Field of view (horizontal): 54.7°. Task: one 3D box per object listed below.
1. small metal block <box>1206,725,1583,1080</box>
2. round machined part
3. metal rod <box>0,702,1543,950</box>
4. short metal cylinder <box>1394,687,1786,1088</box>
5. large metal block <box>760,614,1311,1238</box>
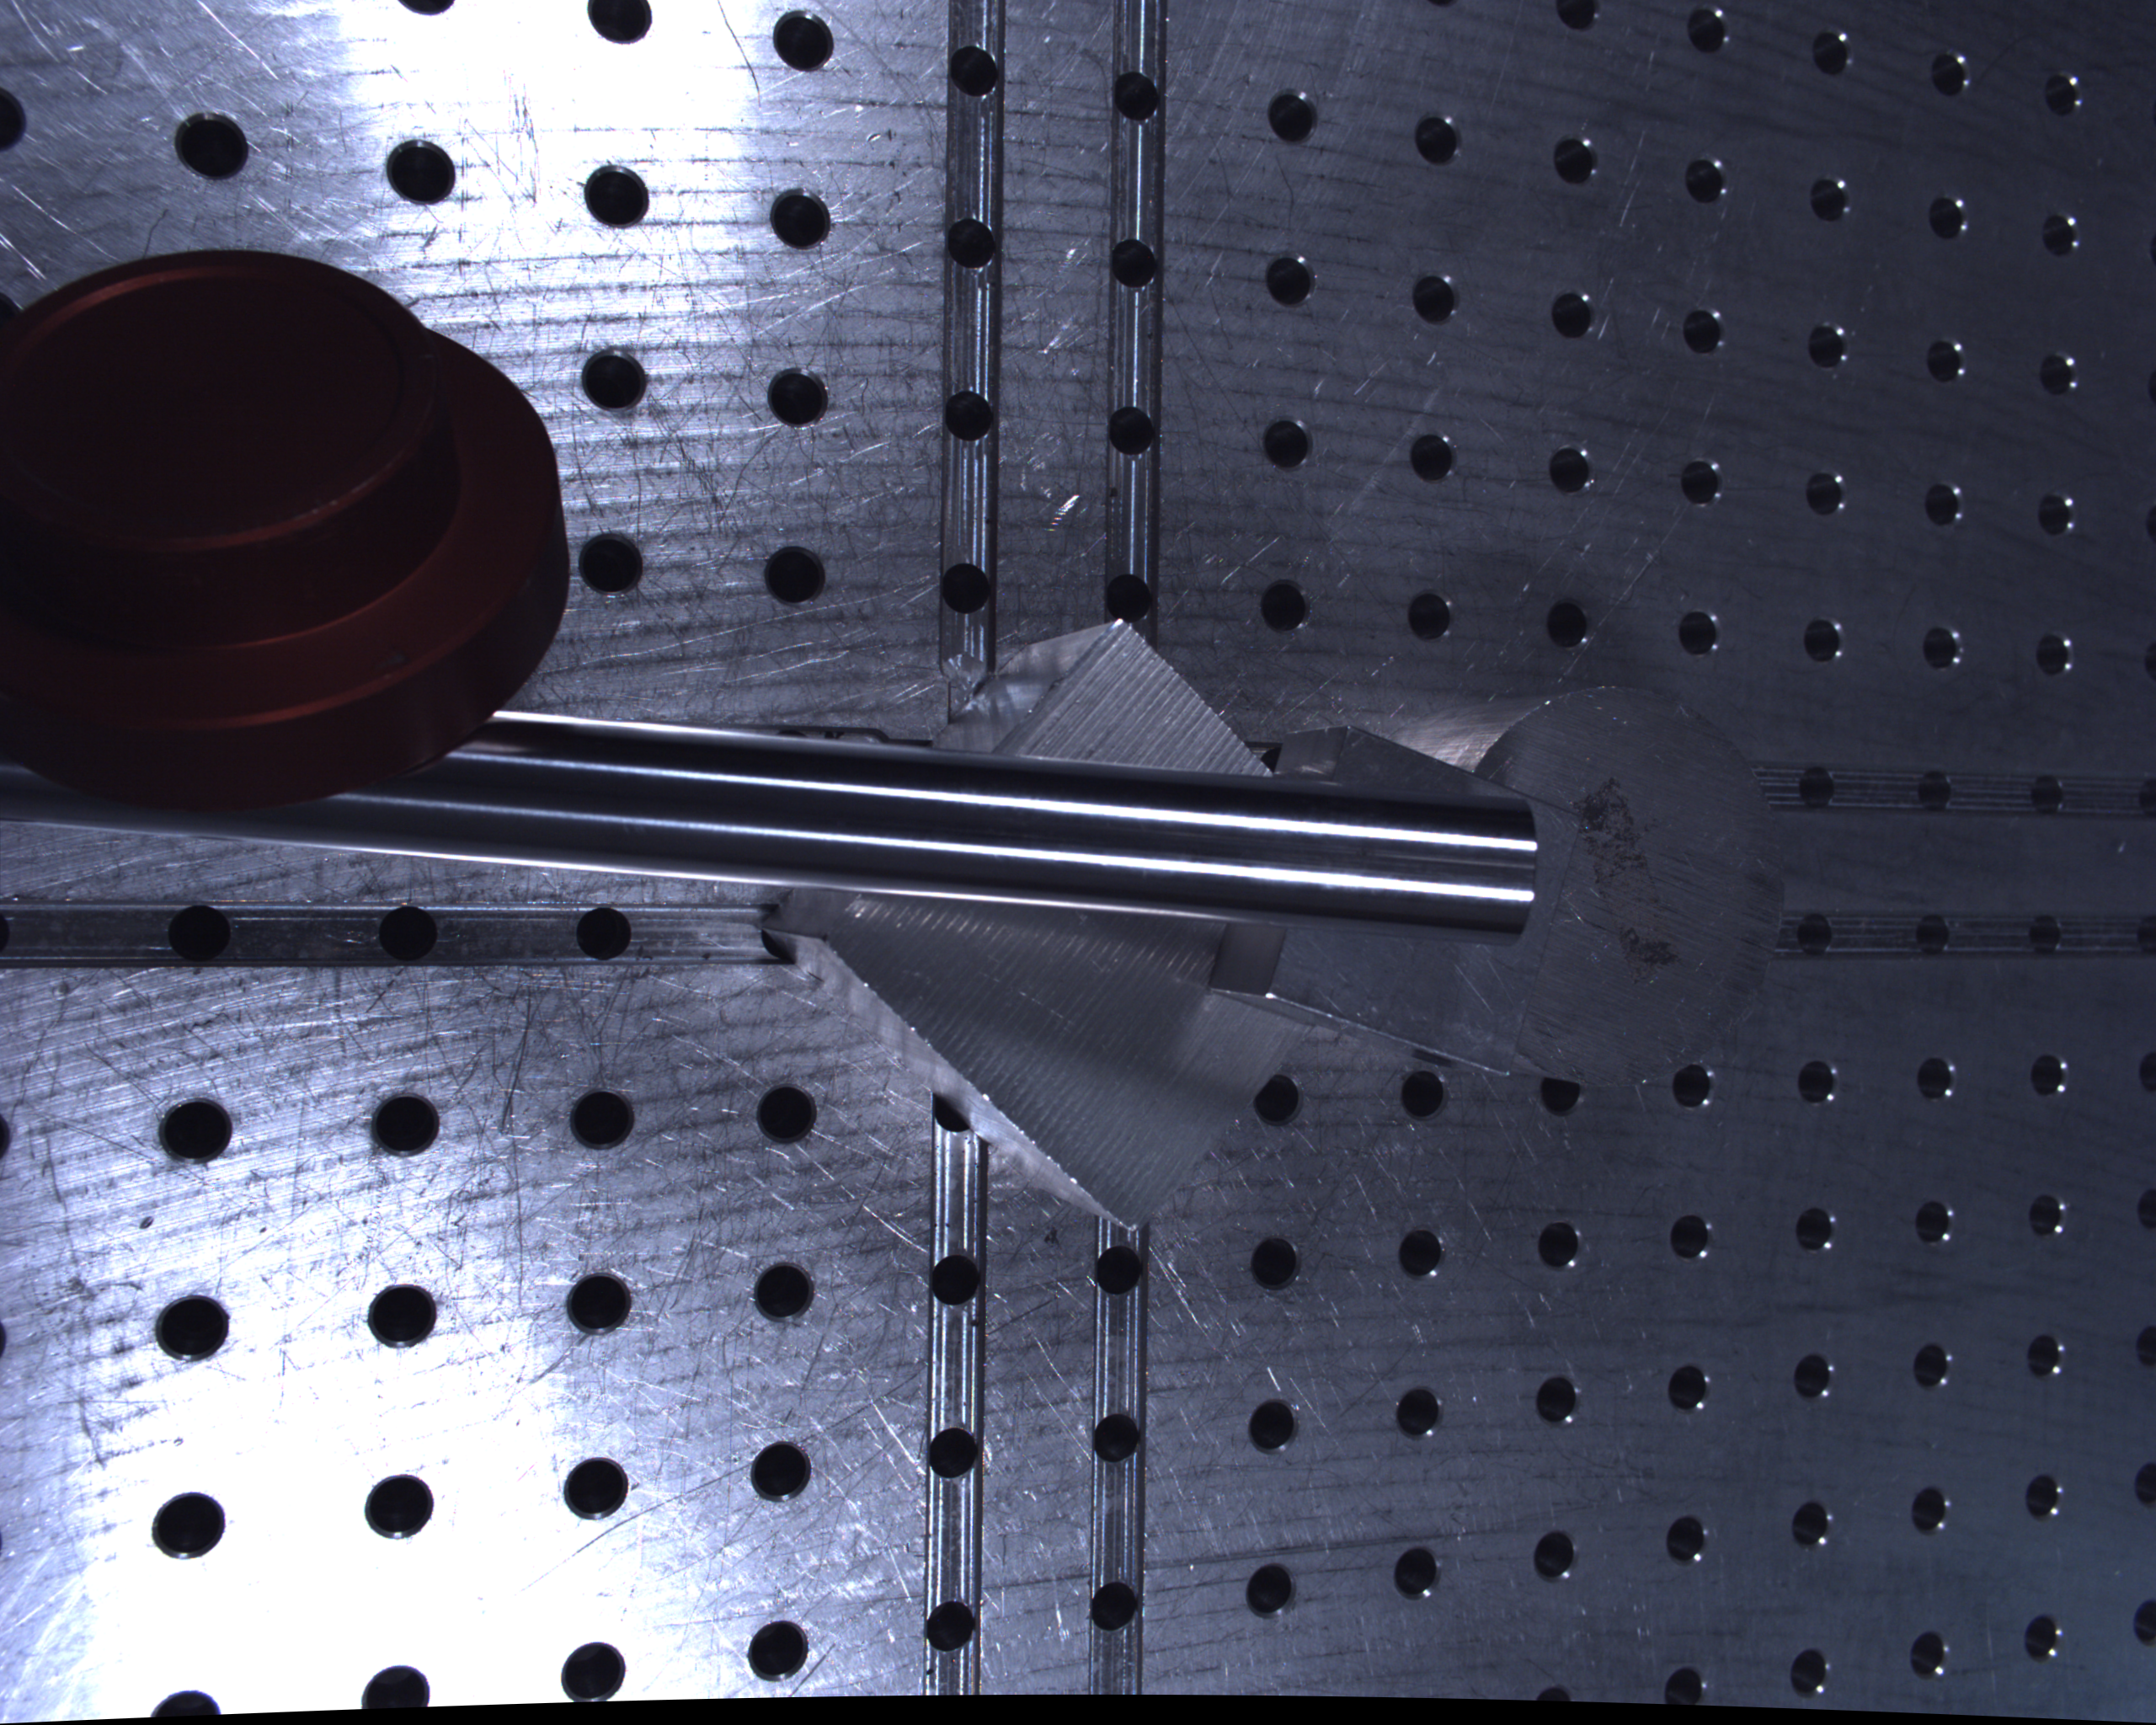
[{"bbox_3d":[0.058,0.007,0.380,0.050,0.025,0.050,20,83,-19],"label":"small metal block"},{"bbox_3d":[-0.132,-0.059,0.327,0.099,0.042,0.098,3,52,-4],"label":"round machined part"},{"bbox_3d":[-0.076,-0.011,0.339,0.302,0.025,0.025,5,88,-4],"label":"metal rod"},{"bbox_3d":[0.099,0.005,0.437,0.081,0.050,0.079,0,90,-21],"label":"short metal cylinder"},{"bbox_3d":[0.001,0.011,0.398,0.080,0.050,0.080,46,76,-15],"label":"large metal block"}]
